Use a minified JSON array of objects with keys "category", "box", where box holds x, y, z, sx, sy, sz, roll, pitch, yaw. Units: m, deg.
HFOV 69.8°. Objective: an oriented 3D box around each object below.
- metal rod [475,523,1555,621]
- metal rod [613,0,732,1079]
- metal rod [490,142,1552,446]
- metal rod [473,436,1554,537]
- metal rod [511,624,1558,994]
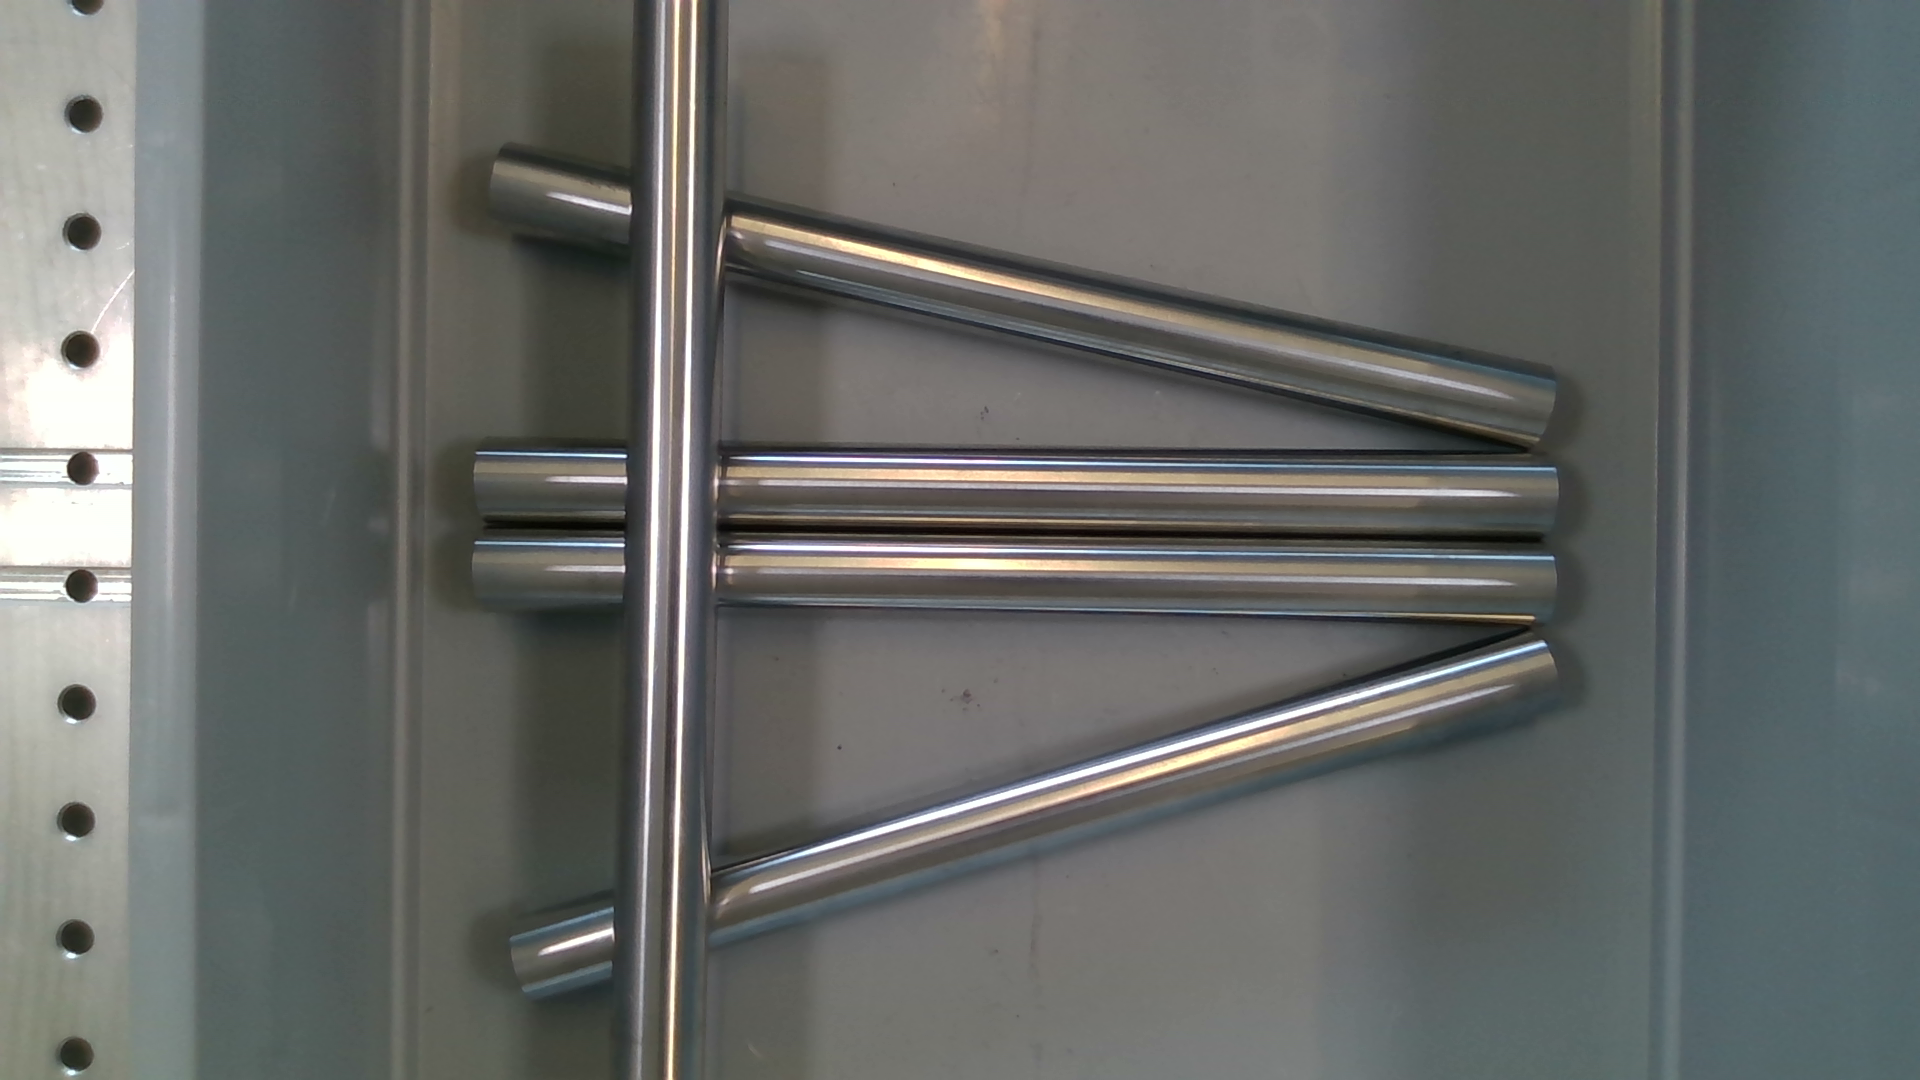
[{"category":"metal rod","box":[0.015,0.009,0.395,0.300,0.025,0.025,1,90,0]},{"category":"metal rod","box":[-0.077,0.005,0.369,0.025,0.025,0.300,1,90,0]},{"category":"metal rod","box":[0.017,-0.070,0.394,0.300,0.025,0.025,12,90,0]},{"category":"metal rod","box":[0.015,-0.015,0.395,0.300,0.025,0.025,1,90,0]},{"category":"metal rod","box":[0.021,0.077,0.395,0.300,0.025,0.025,-16,90,0]}]
